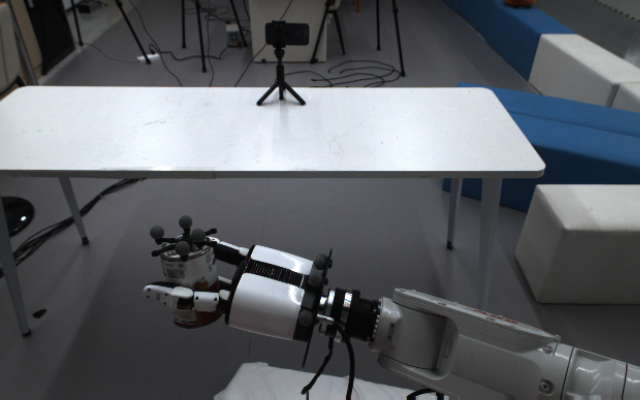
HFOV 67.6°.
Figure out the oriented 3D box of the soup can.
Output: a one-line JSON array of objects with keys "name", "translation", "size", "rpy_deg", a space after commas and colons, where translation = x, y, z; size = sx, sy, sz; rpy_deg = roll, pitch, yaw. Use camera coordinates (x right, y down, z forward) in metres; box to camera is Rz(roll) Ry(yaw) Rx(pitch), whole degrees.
[{"name": "soup can", "translation": [-0.163, 0.106, 0.627], "size": [0.067, 0.101, 0.067], "rpy_deg": [-4, 21, 1]}]
